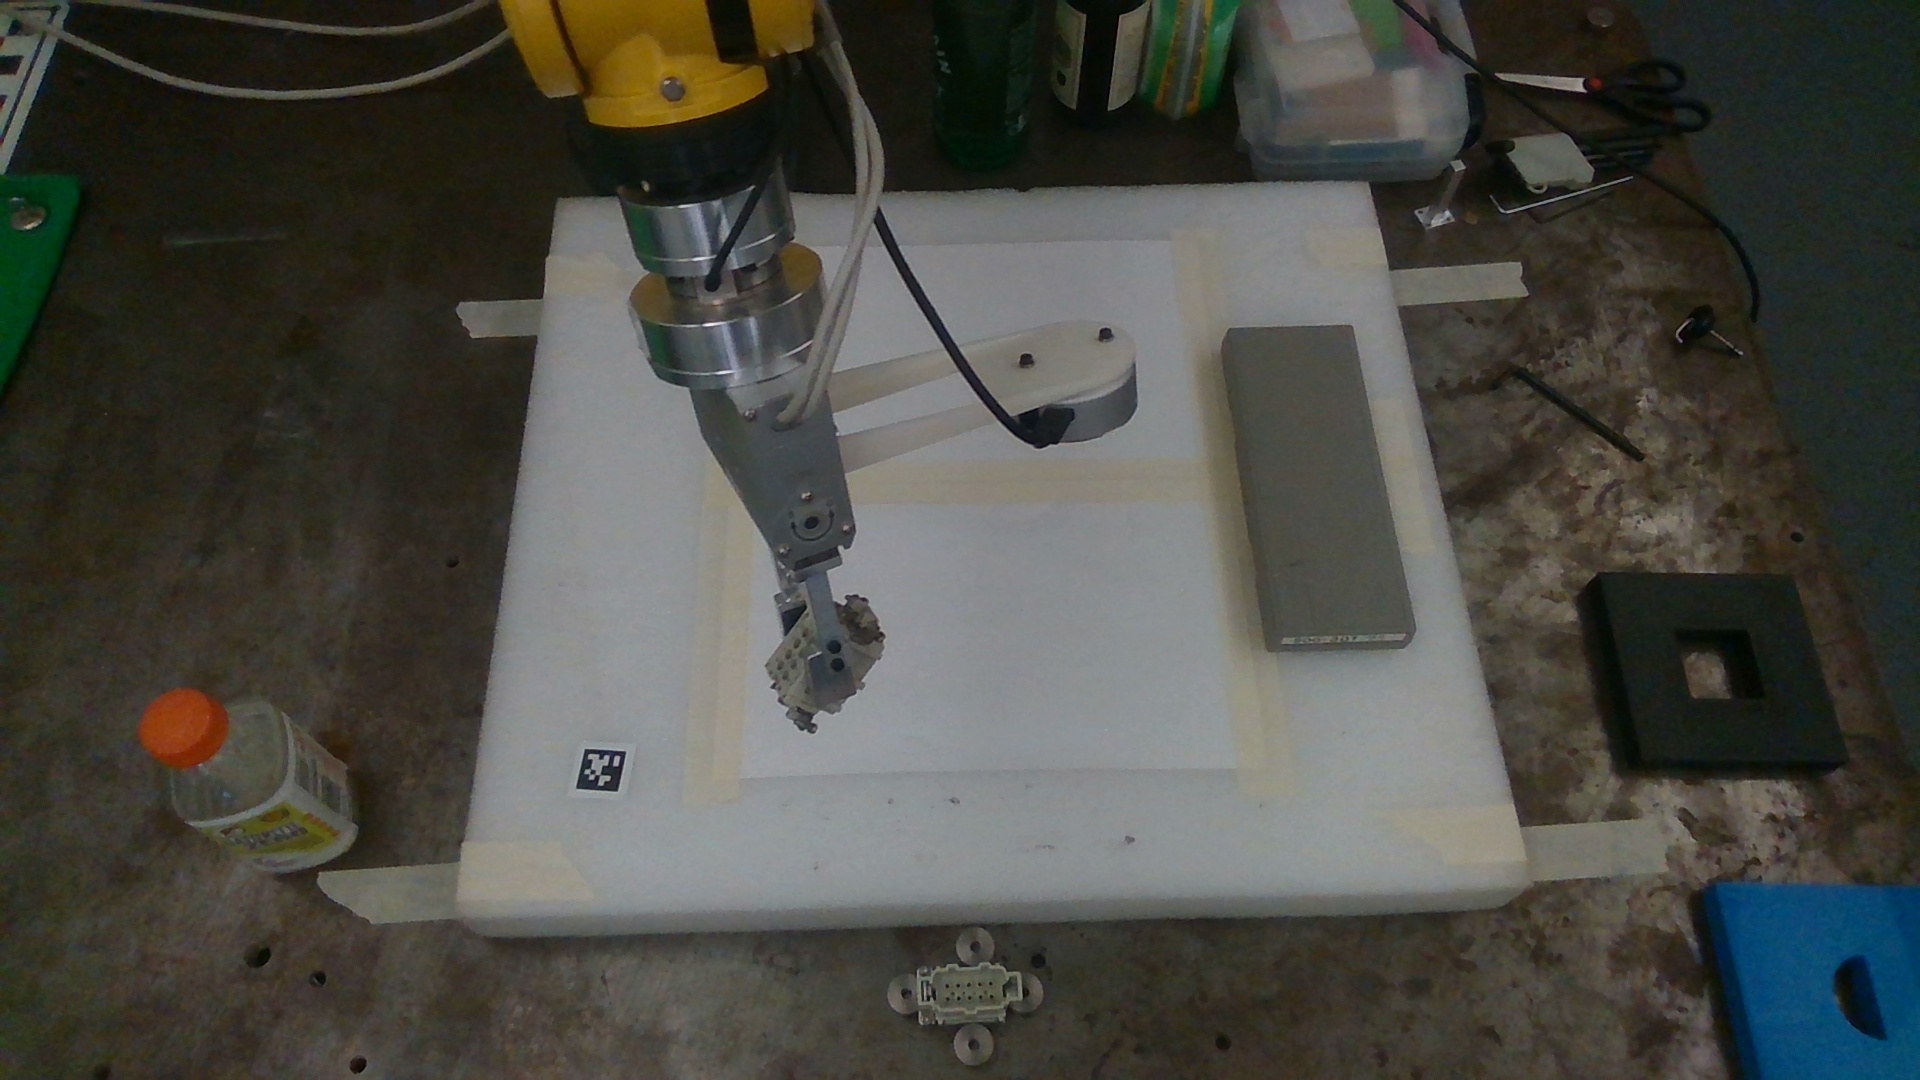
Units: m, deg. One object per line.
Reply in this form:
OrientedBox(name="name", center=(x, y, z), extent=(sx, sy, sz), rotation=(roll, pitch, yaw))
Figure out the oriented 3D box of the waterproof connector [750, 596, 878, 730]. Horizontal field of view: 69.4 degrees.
OrientedBox(name="waterproof connector", center=(-0.070, 0.061, 0.678), extent=(0.069, 0.038, 0.037), rotation=(-46, 44, 4))
